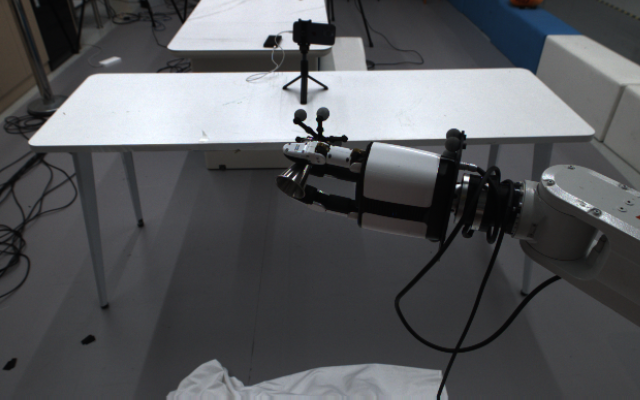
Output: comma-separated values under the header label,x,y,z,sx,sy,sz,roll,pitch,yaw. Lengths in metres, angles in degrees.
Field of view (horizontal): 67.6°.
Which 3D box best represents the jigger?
label,x,y,z,sx,sy,sz,roll,pitch,yaw
jigger,-0.024,-0.045,0.619,0.043,0.043,0.071,19,61,23
